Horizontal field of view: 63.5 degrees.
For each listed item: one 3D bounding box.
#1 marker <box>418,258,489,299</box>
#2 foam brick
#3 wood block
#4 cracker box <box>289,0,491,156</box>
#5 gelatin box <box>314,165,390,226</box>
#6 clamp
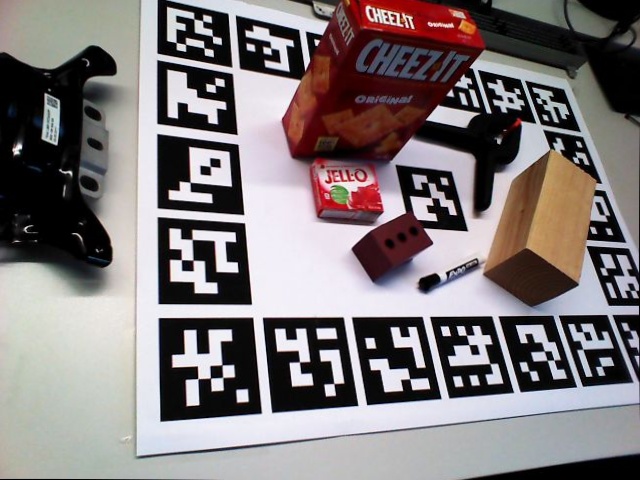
[{"bbox_3d":[0.175,0.050,0.680,0.120,0.020,0.019,-20,78,-30],"label":"marker"},{"bbox_3d":[0.095,0.014,0.643,0.077,0.052,0.052,-25,81,-31],"label":"foam brick"},{"bbox_3d":[0.326,-0.018,0.743,0.090,0.091,0.205,32,55,-5],"label":"wood block"},{"bbox_3d":[0.079,-0.187,0.627,0.163,0.215,0.072,-2,66,-27],"label":"cracker box"},{"bbox_3d":[0.041,-0.057,0.669,0.089,0.030,0.073,0,68,-24],"label":"gelatin box"},{"bbox_3d":[0.262,-0.147,0.802,0.201,0.037,0.165,-32,83,-32],"label":"clamp"}]
